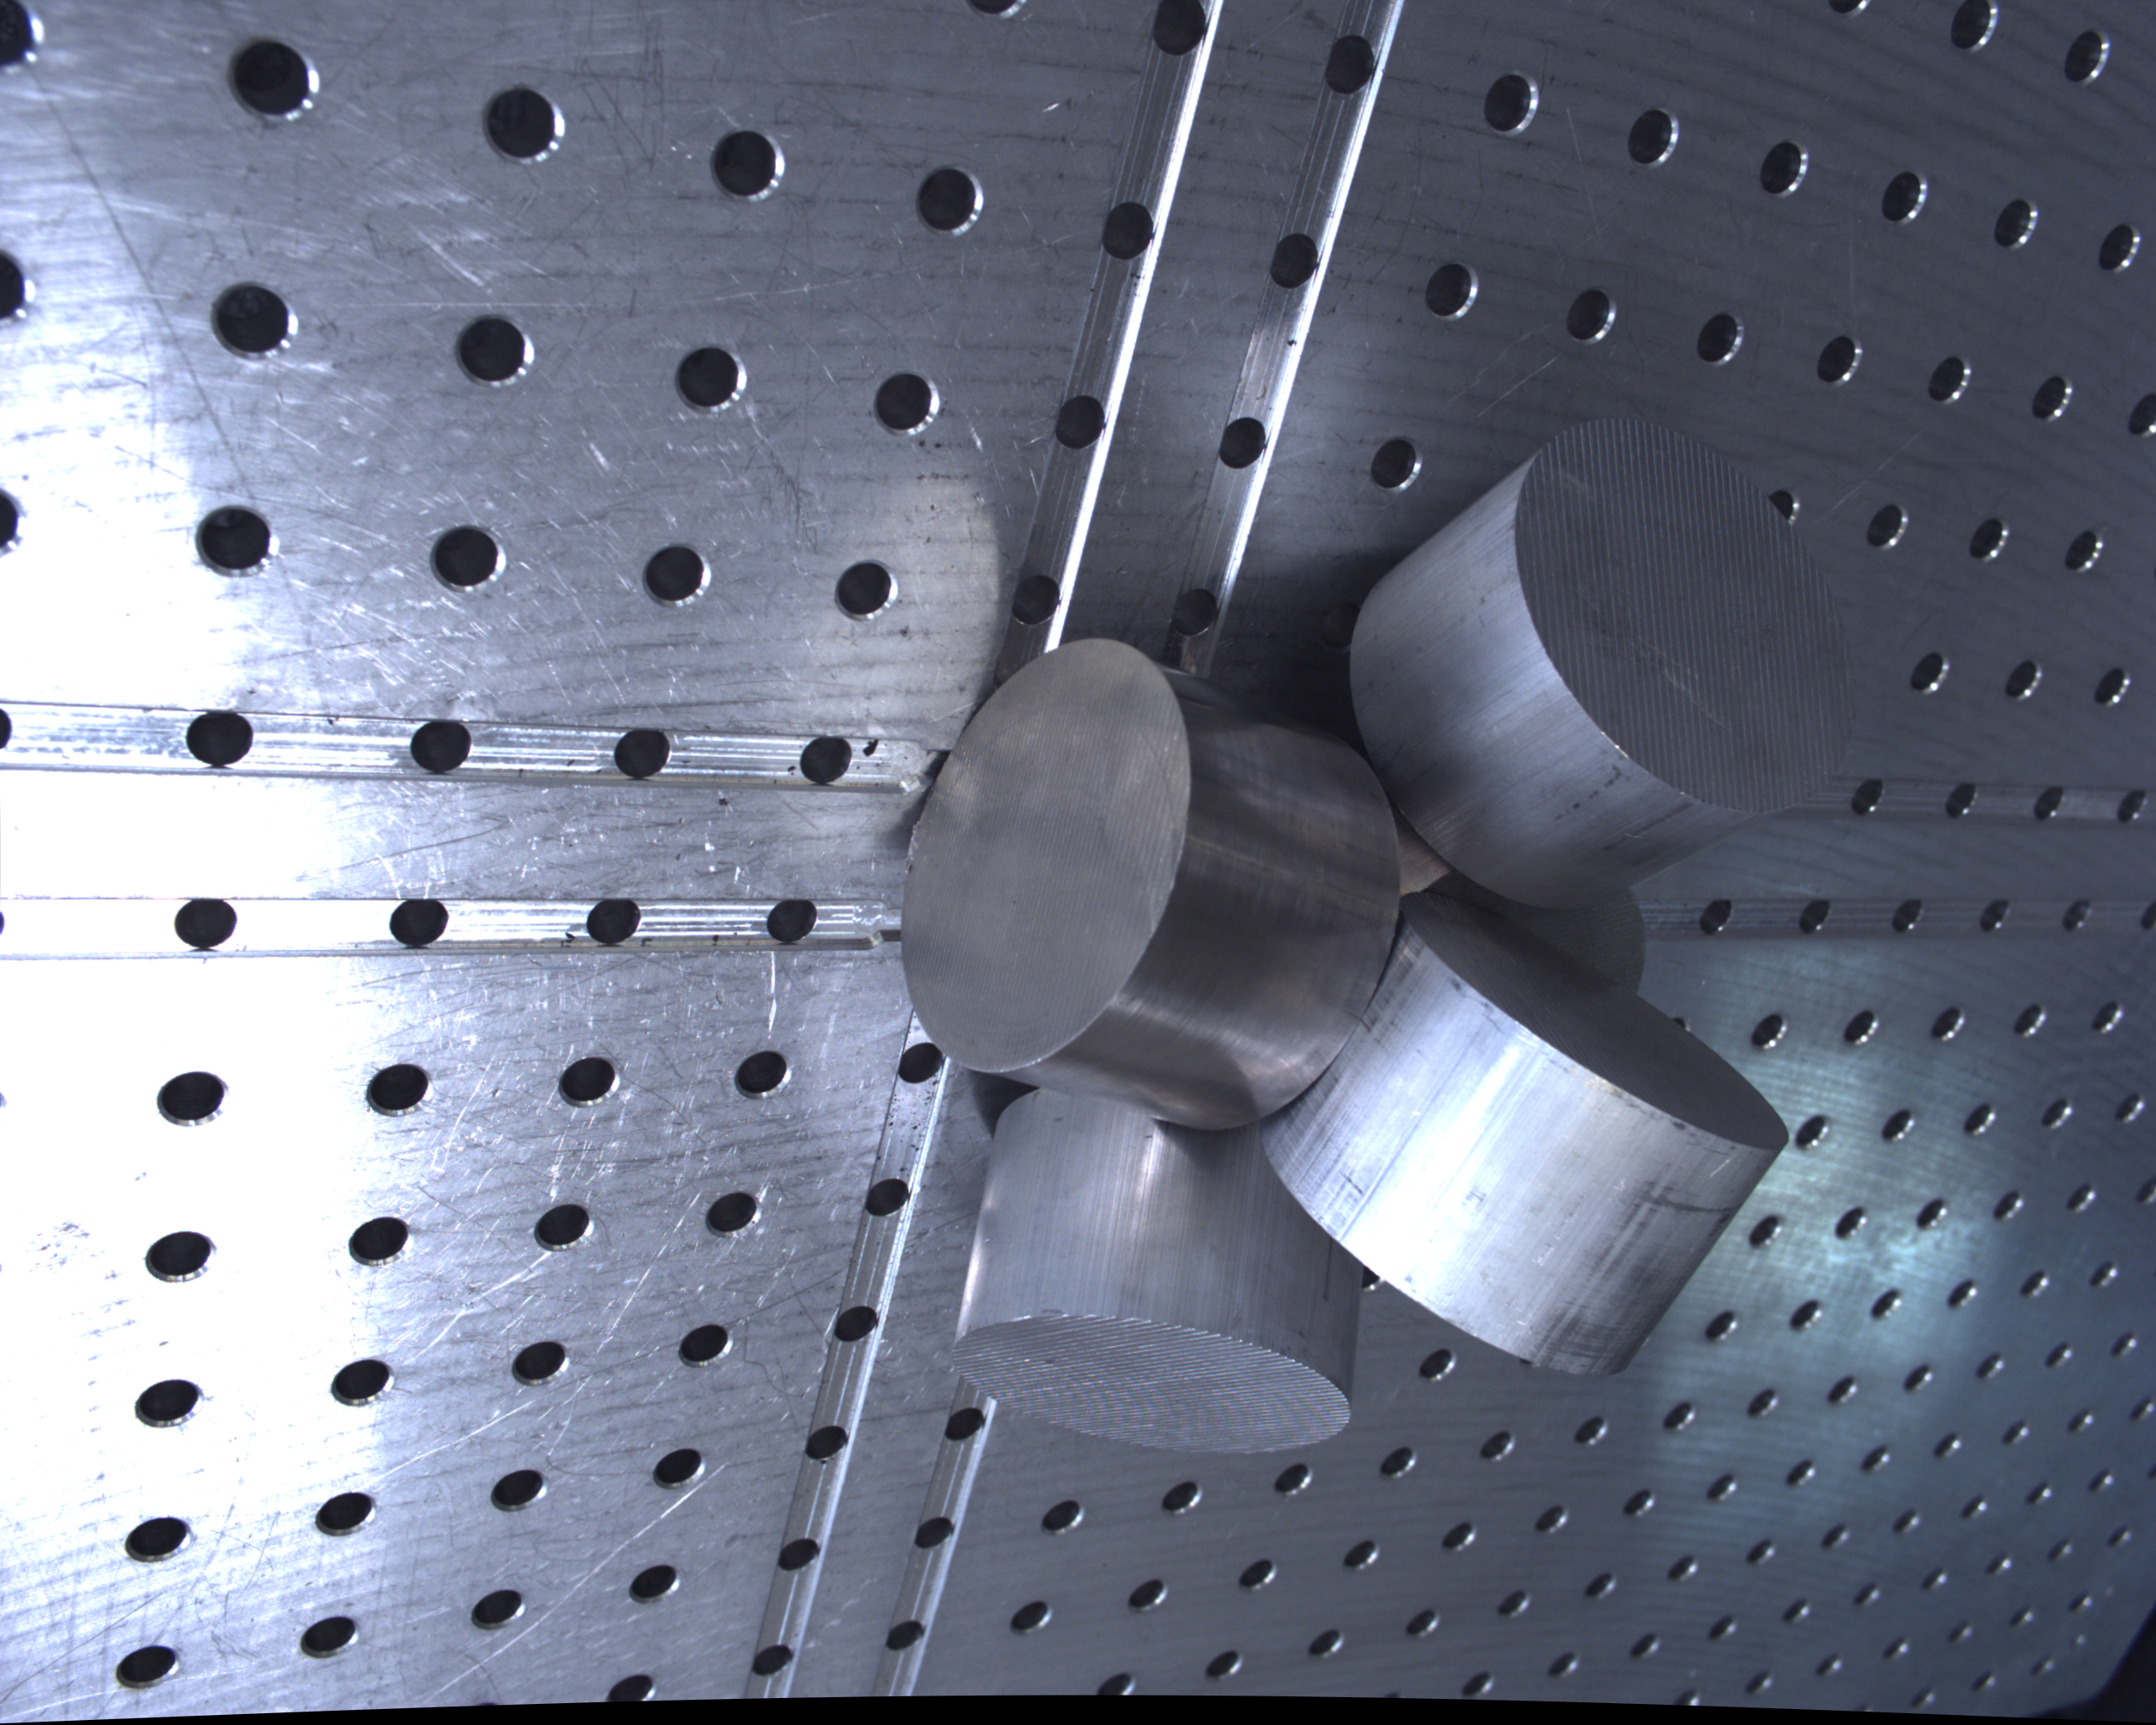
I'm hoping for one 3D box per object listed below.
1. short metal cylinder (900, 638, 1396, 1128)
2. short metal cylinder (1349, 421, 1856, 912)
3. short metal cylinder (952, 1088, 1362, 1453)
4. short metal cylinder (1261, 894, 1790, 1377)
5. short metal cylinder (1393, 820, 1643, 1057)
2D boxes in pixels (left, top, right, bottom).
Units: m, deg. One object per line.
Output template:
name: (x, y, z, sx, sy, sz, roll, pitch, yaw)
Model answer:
short metal cylinder: (0.011, 0.005, 0.384, 0.050, 0.080, 0.080, 20, 107, -36)
short metal cylinder: (0.100, -0.036, 0.398, 0.081, 0.080, 0.050, 2, 157, -29)
short metal cylinder: (0.018, 0.084, 0.430, 0.080, 0.050, 0.080, 8, 149, 5)
short metal cylinder: (0.081, 0.048, 0.384, 0.081, 0.080, 0.050, 19, 108, -36)
short metal cylinder: (0.072, 0.020, 0.445, 0.081, 0.050, 0.079, -13, 123, -21)
